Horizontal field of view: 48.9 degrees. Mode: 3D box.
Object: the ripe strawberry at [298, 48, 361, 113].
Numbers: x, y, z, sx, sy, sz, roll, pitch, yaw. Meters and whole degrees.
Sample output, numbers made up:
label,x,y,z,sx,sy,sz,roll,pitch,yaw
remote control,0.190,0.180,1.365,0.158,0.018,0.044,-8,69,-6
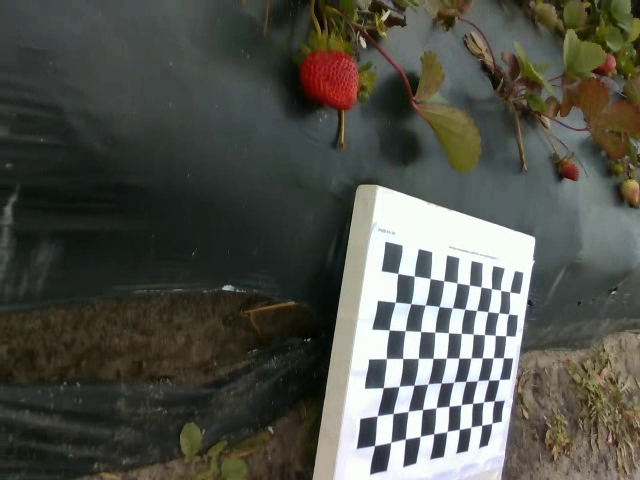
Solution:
label,x,y,z,sx,sy,sz,roll,pitch,yaw
ripe strawberry,0.005,-0.032,0.150,0.014,0.017,0.018,-37,-27,14
